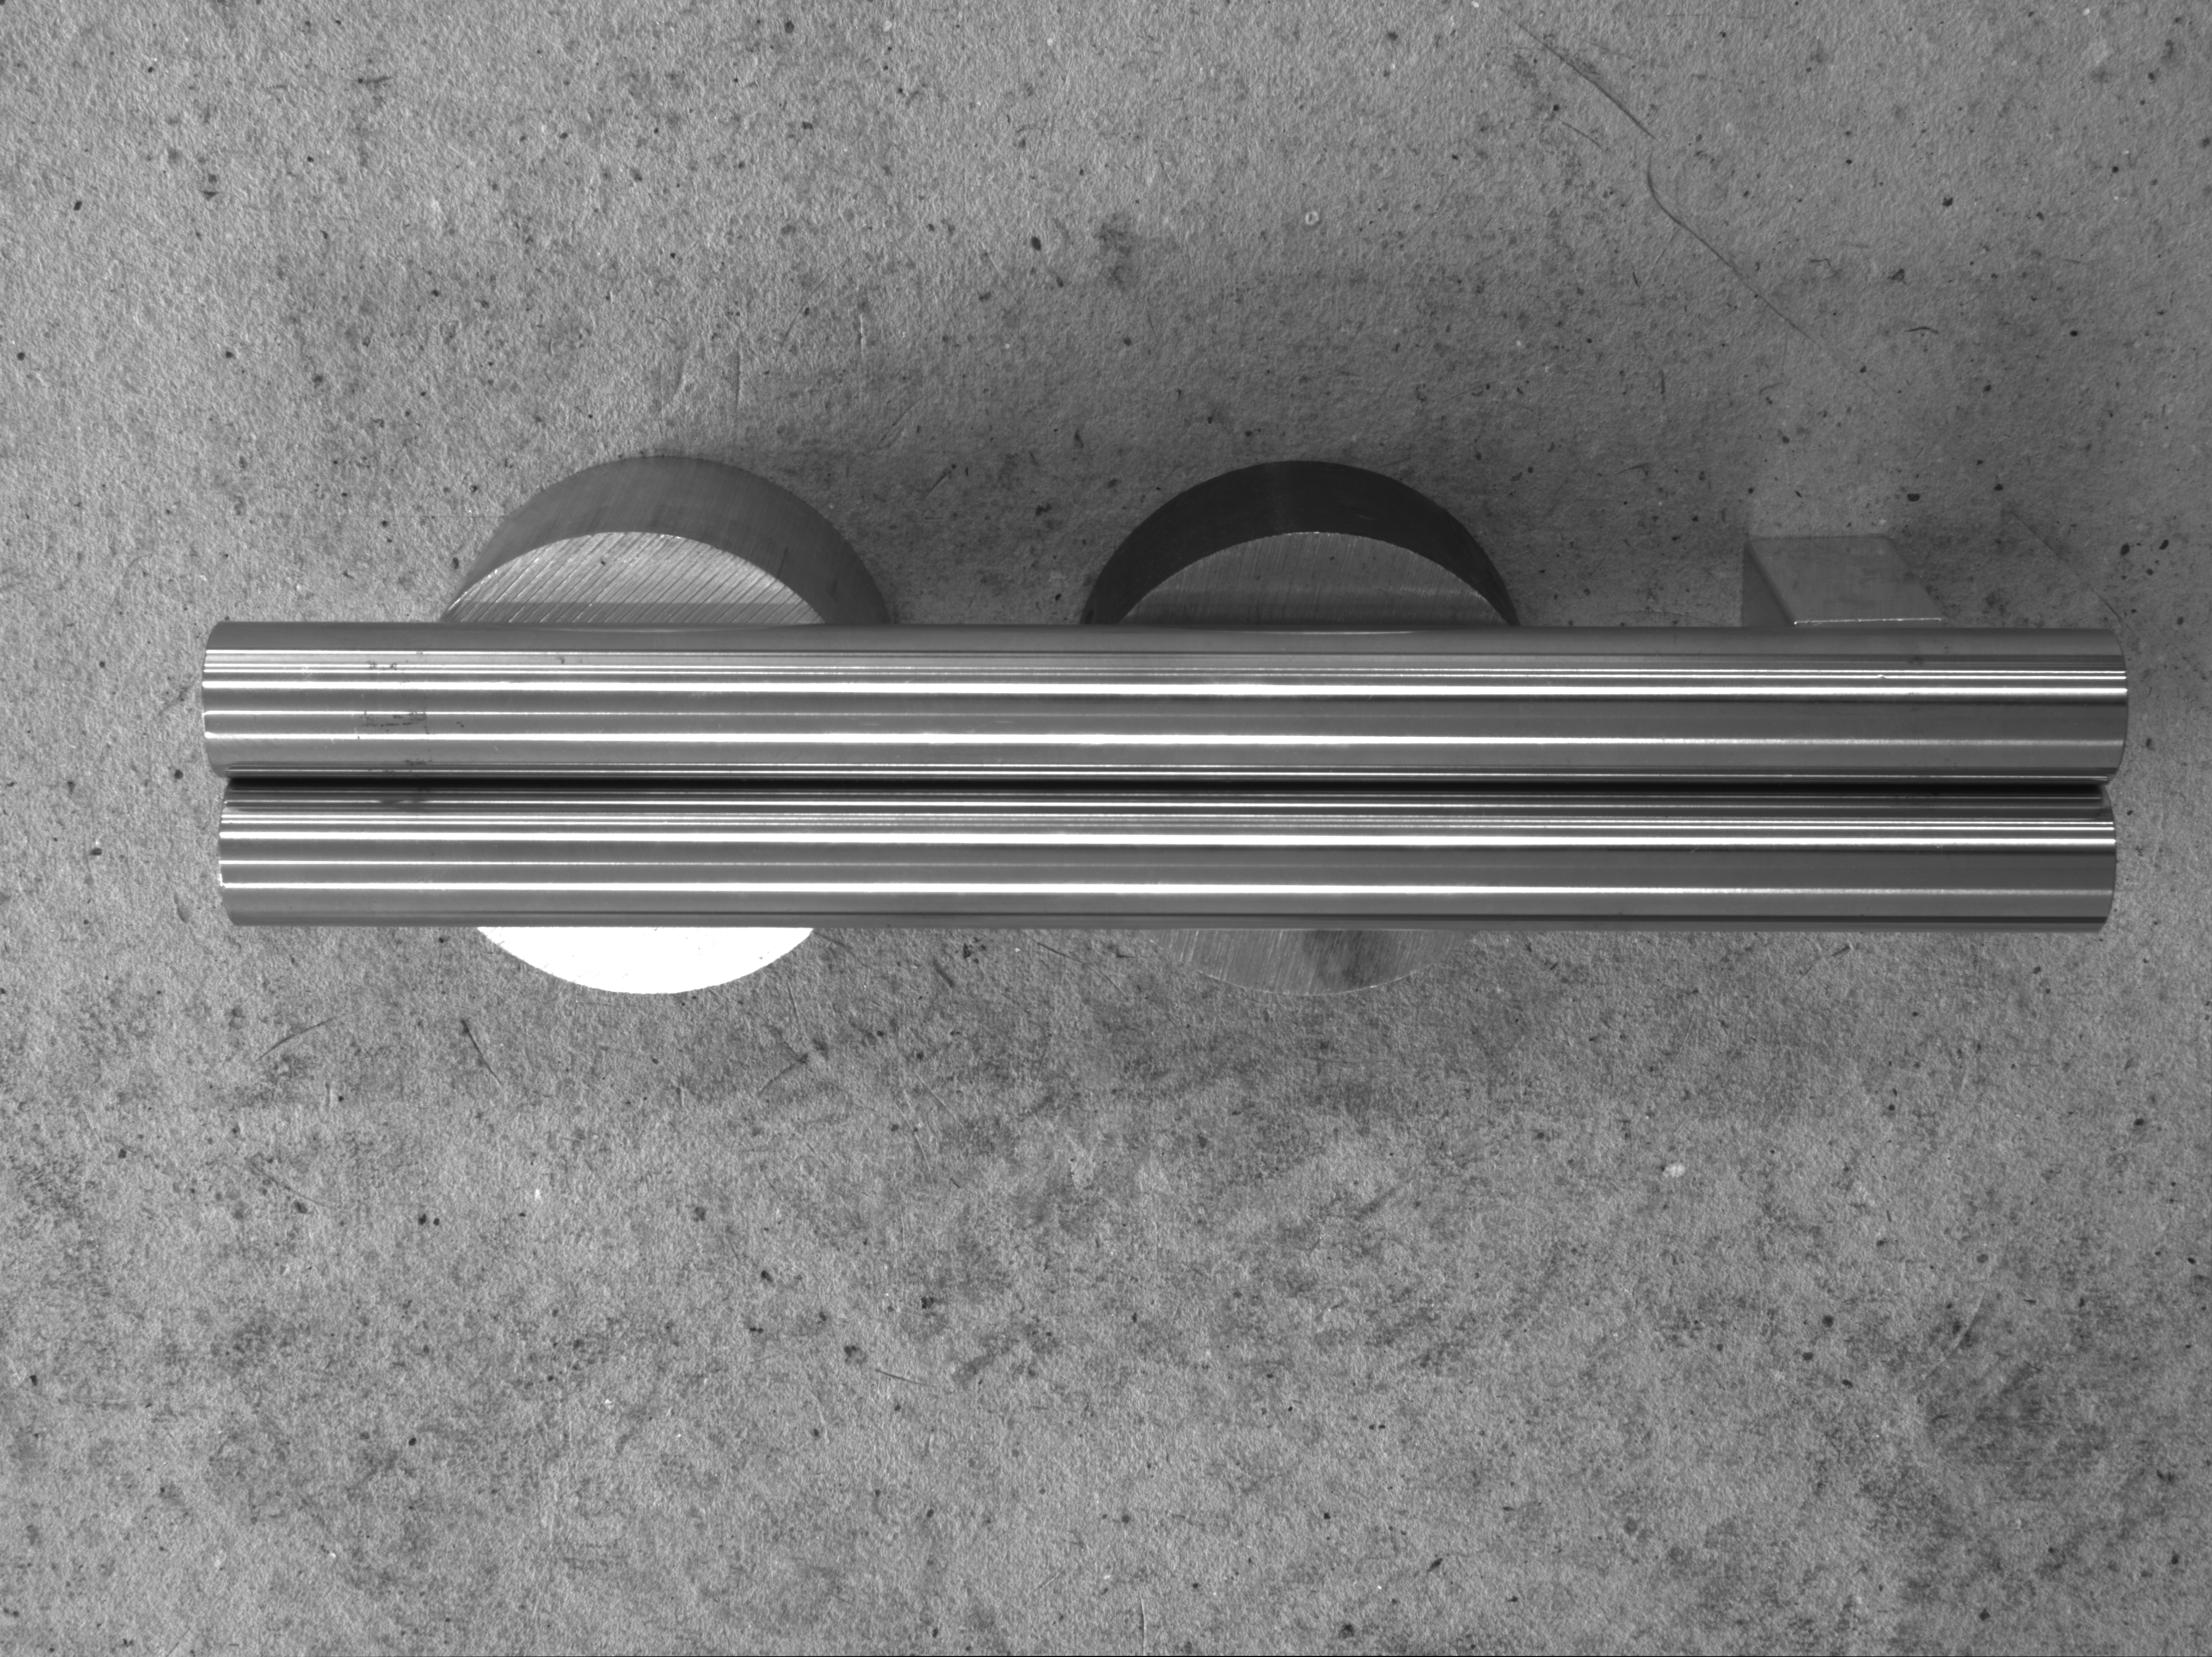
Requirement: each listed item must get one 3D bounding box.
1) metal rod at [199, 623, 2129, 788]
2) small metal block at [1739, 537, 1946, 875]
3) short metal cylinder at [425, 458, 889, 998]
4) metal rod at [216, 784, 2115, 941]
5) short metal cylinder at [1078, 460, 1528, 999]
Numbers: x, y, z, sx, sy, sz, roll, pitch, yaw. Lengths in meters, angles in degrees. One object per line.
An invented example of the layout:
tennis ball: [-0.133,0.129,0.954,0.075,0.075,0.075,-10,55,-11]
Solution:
metal rod: [0.009,-0.020,0.583,0.300,0.025,0.025,0,110,0]
small metal block: [0.124,-0.019,0.626,0.025,0.050,0.050,-2,109,0]
short metal cylinder: [-0.076,-0.018,0.624,0.080,0.050,0.080,0,110,0]
metal rod: [0.010,0.005,0.592,0.300,0.025,0.025,0,110,0]
short metal cylinder: [0.034,-0.018,0.625,0.080,0.050,0.080,0,110,0]
